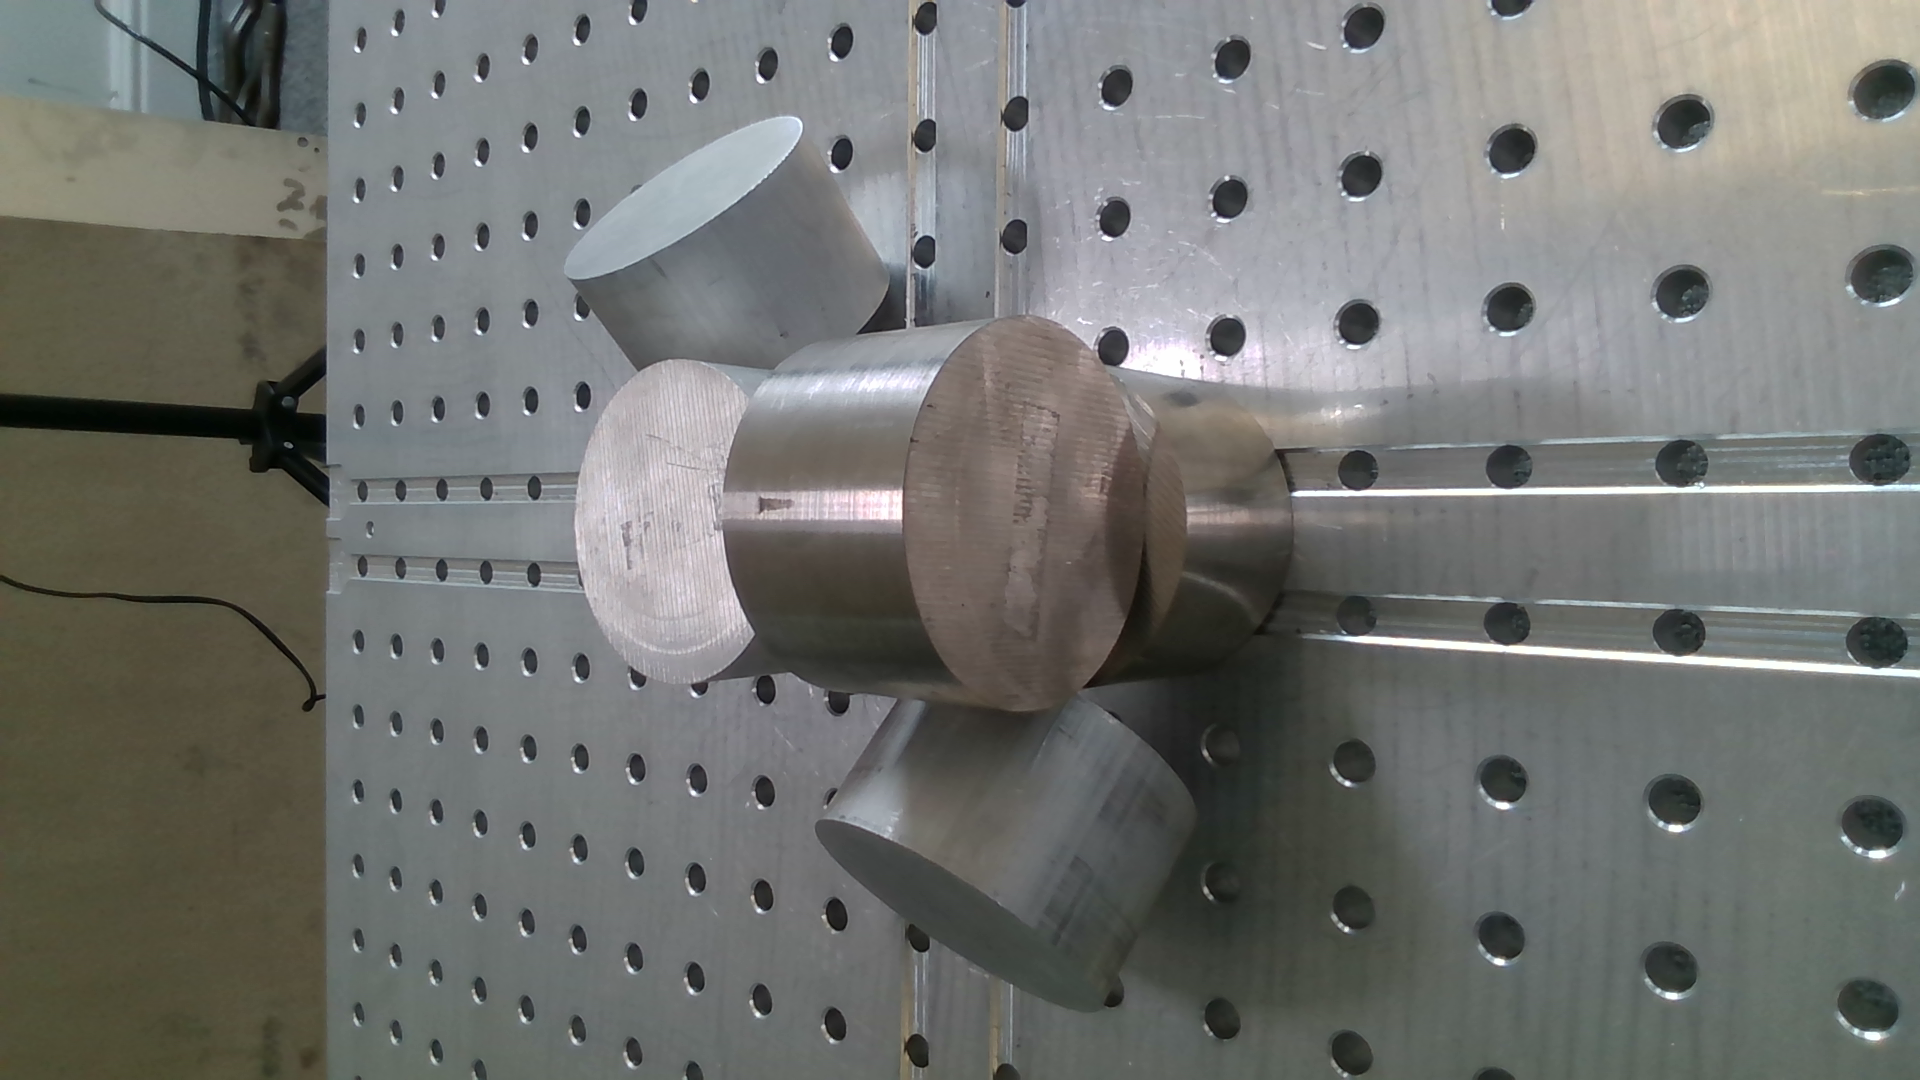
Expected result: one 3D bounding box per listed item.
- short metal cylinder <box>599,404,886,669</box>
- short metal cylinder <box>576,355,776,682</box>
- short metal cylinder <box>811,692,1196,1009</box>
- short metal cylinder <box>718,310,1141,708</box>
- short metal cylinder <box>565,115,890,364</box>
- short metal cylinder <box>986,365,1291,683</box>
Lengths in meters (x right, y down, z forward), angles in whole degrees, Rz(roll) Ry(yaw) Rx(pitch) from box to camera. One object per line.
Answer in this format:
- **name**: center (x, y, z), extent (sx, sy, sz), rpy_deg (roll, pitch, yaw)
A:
- **short metal cylinder**: center (-0.070, -0.001, 0.435), extent (0.080, 0.050, 0.080), rpy_deg (1, 91, 41)
- **short metal cylinder**: center (-0.055, -0.005, 0.357), extent (0.080, 0.050, 0.080), rpy_deg (0, 91, 40)
- **short metal cylinder**: center (0.011, 0.071, 0.340), extent (0.080, 0.080, 0.050), rpy_deg (14, 59, 39)
- **short metal cylinder**: center (-0.004, -0.006, 0.294), extent (0.050, 0.080, 0.080), rpy_deg (1, 91, 40)
- **short metal cylinder**: center (-0.068, -0.081, 0.407), extent (0.080, 0.080, 0.050), rpy_deg (-3, 132, 40)
- **short metal cylinder**: center (0.035, -0.004, 0.347), extent (0.080, 0.050, 0.080), rpy_deg (0, 91, 41)
